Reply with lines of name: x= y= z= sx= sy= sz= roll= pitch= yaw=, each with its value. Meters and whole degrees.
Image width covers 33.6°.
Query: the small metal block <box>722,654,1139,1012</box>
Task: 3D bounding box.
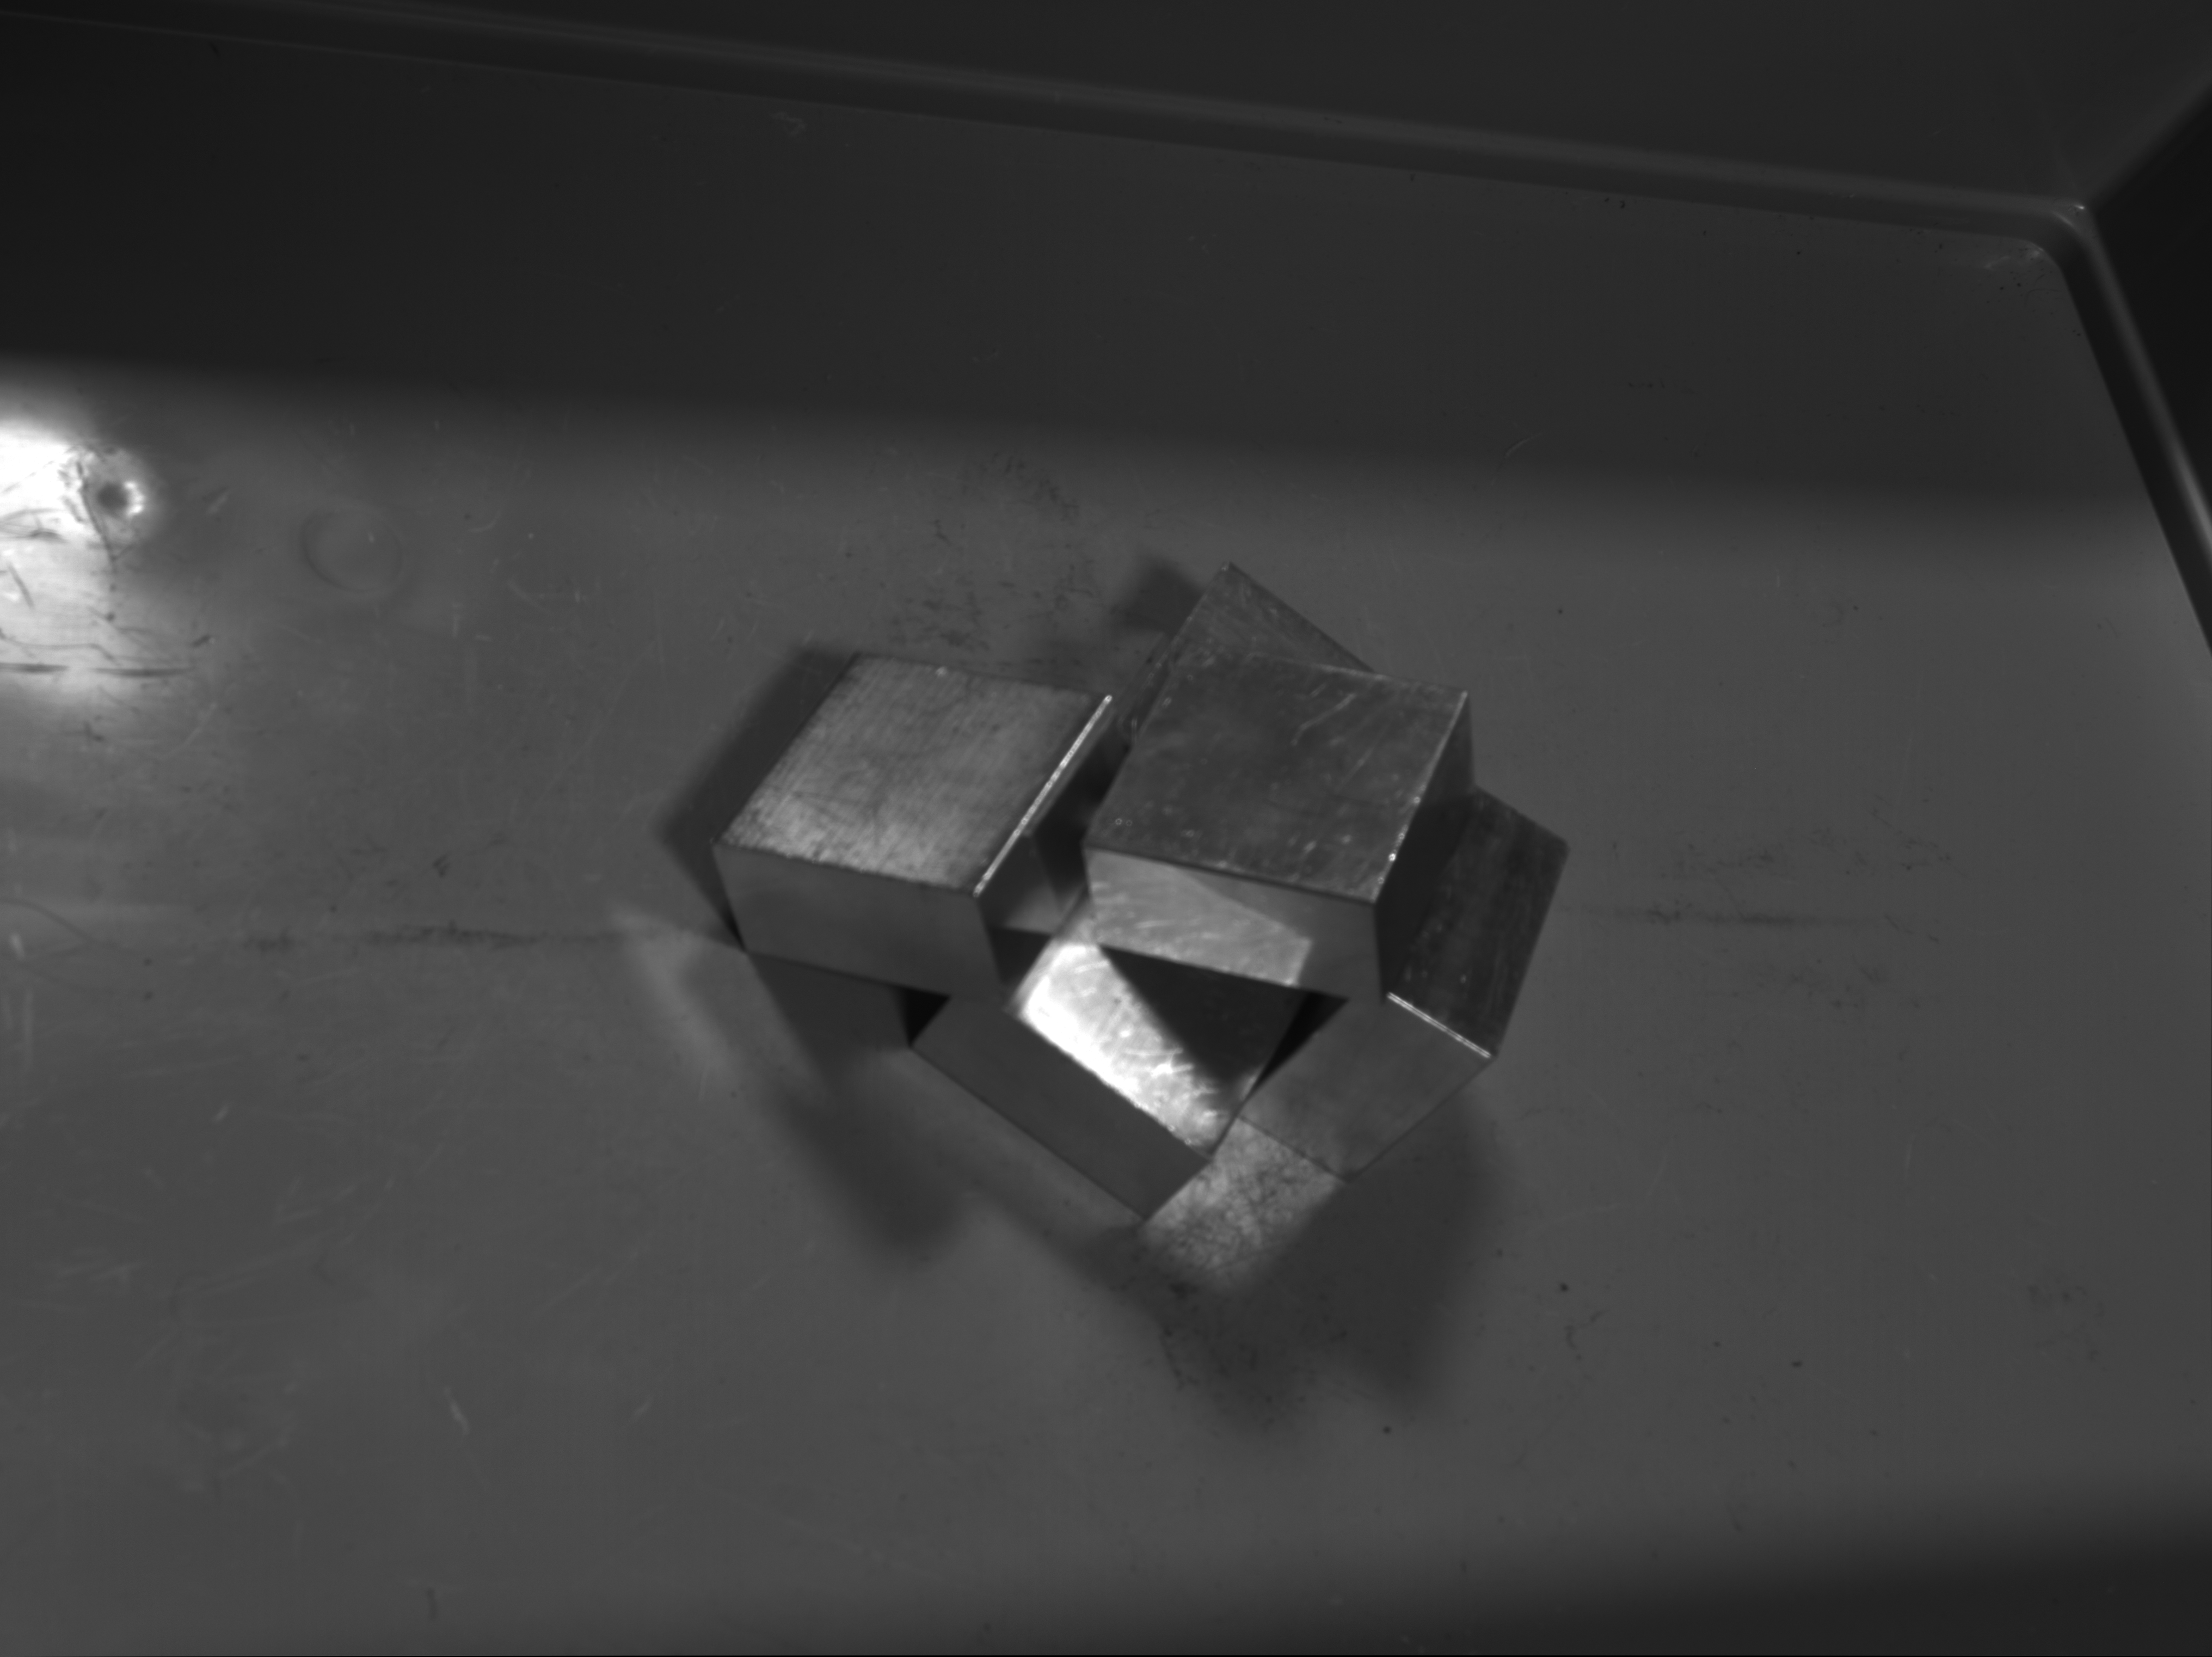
small metal block: x=-0.027 y=0.000 z=0.608 sx=0.050 sy=0.025 sz=0.050 roll=11 pitch=46 yaw=26

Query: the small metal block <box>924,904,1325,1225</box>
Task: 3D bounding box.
small metal block: x=0.005 y=0.030 z=0.623 sx=0.050 sy=0.025 sz=0.050 roll=36 pitch=51 yaw=-4

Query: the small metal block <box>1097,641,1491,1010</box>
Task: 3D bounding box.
small metal block: x=0.032 y=-0.001 z=0.609 sx=0.050 sy=0.025 sz=0.050 roll=11 pitch=49 yaw=20

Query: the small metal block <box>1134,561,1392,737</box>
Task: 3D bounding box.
small metal block: x=0.029 y=-0.012 z=0.661 sx=0.050 sy=0.025 sz=0.050 roll=36 pitch=51 yaw=-4

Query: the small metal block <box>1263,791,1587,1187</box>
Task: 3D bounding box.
small metal block: x=0.054 y=0.027 z=0.635 sx=0.025 sy=0.050 sz=0.050 roll=31 pitch=52 yaw=-8
